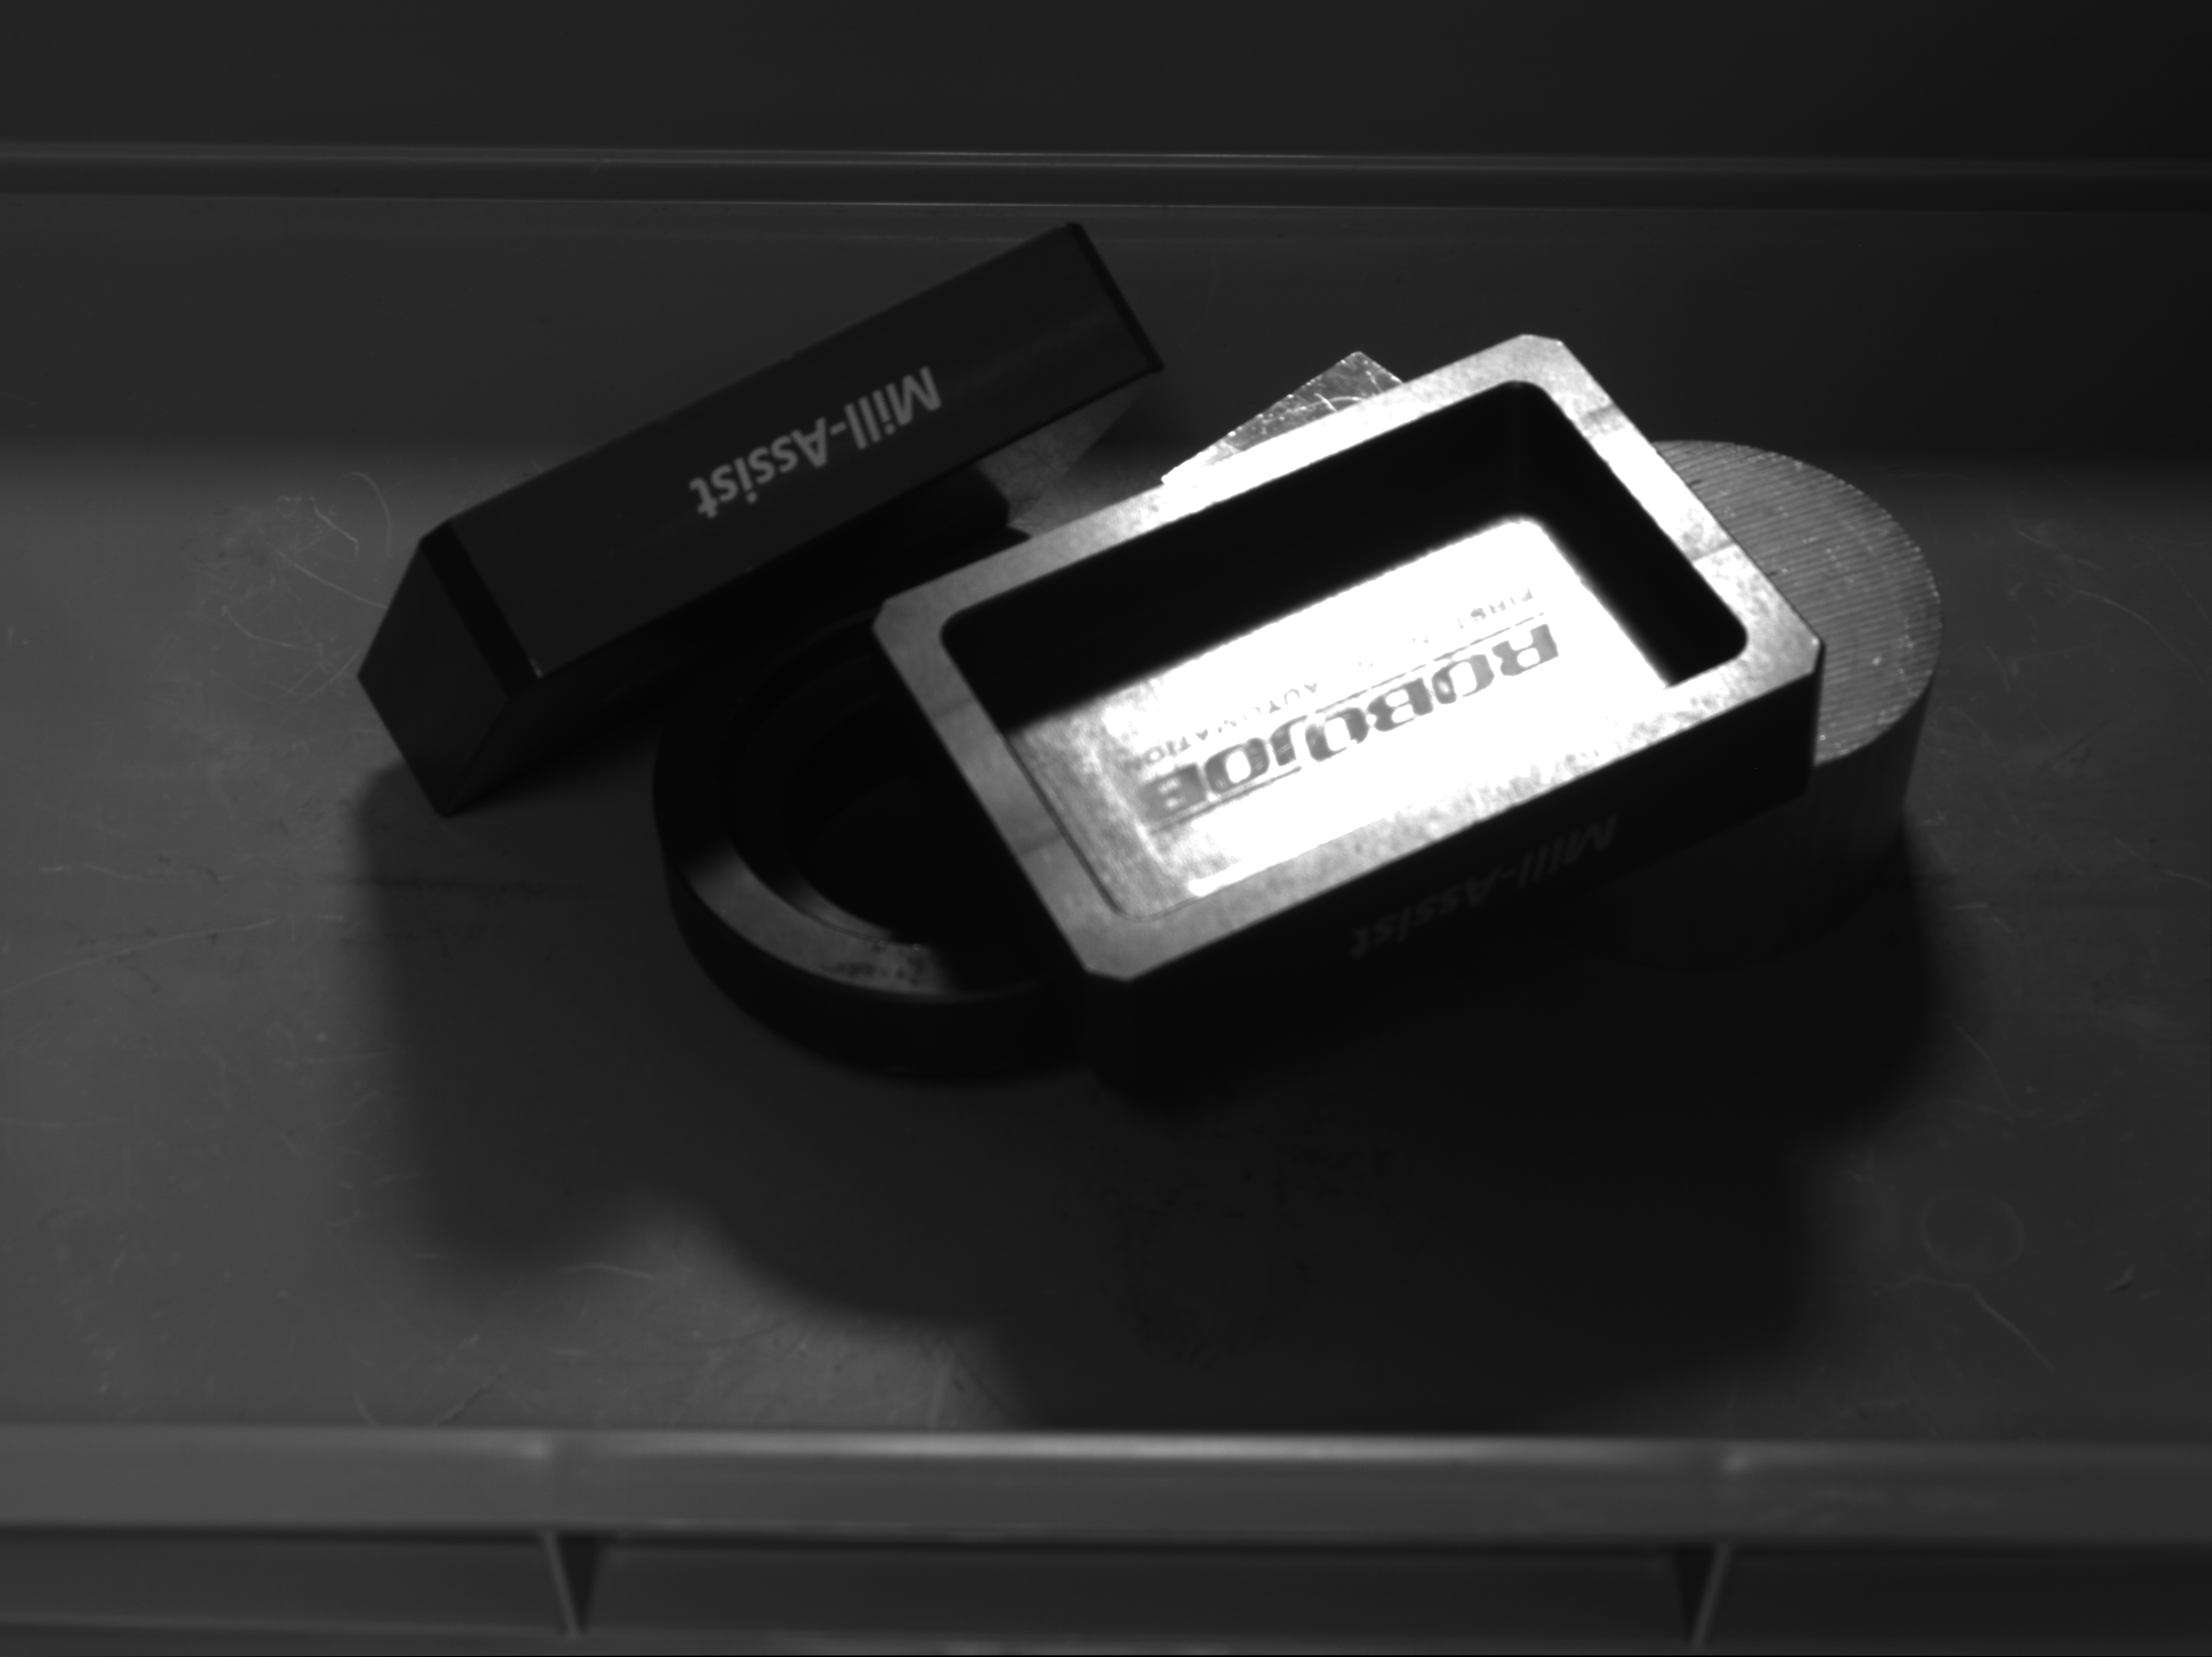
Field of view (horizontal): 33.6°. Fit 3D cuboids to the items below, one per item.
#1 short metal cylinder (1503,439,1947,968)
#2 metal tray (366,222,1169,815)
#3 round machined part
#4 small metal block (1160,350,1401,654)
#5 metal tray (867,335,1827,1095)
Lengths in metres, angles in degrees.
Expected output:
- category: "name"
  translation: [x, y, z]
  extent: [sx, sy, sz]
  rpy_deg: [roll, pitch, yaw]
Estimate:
- category: "short metal cylinder"
  translation: [0.103, -0.022, 0.642]
  extent: [0.080, 0.050, 0.080]
  rpy_deg: [0, 50, 0]
- category: "metal tray"
  translation: [-0.061, -0.053, 0.641]
  extent: [0.130, 0.090, 0.030]
  rpy_deg: [-29, 87, -23]
- category: "round machined part"
  translation: [-0.026, 0.004, 0.627]
  extent: [0.098, 0.042, 0.098]
  rpy_deg: [0, 50, 0]
- category: "small metal block"
  translation: [0.036, -0.051, 0.667]
  extent: [0.050, 0.050, 0.025]
  rpy_deg: [-35, 58, -27]
- category: "metal tray"
  translation: [0.038, -0.021, 0.593]
  extent: [0.130, 0.030, 0.090]
  rpy_deg: [-24, 53, -13]
